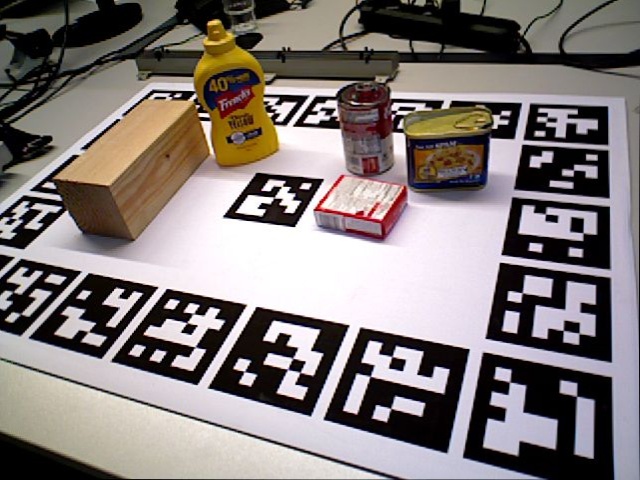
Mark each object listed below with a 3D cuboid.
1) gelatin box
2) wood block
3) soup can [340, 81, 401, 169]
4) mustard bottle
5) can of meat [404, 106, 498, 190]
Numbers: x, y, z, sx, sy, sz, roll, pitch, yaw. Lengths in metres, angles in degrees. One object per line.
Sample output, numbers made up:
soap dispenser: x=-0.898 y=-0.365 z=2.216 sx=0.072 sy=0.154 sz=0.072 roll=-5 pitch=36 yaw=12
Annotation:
gelatin box: x=0.049 y=-0.040 z=0.621 sx=0.090 sy=0.030 sz=0.071 roll=14 pitch=49 yaw=31
wood block: x=-0.242 y=-0.101 z=0.723 sx=0.091 sy=0.091 sz=0.201 roll=10 pitch=41 yaw=21
soup can: x=0.065 y=-0.148 z=0.677 sx=0.068 sy=0.104 sz=0.067 roll=-7 pitch=42 yaw=6
mustard bottle: x=-0.122 y=-0.192 z=0.724 sx=0.096 sy=0.195 sz=0.057 roll=-8 pitch=40 yaw=1
can of meat: x=0.150 y=-0.108 z=0.638 sx=0.102 sy=0.085 sz=0.056 roll=0 pitch=43 yaw=9
